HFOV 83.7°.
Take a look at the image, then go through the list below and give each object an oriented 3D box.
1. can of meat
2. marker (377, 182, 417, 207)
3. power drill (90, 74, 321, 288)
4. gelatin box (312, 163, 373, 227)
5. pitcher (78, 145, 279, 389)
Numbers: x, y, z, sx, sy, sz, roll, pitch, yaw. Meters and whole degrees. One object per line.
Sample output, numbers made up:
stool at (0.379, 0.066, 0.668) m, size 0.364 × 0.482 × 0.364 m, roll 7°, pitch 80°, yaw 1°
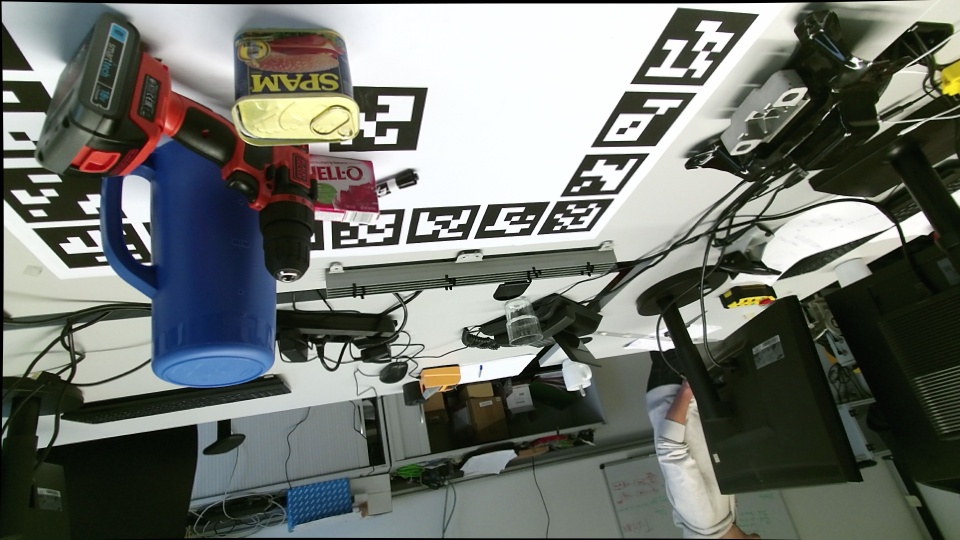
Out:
can of meat at (-0.168, -0.160, 0.478) m, size 0.102 × 0.083 × 0.058 m, roll -6°, pitch 154°, yaw -15°
marker at (-0.139, -0.088, 0.700) m, size 0.121 × 0.019 × 0.020 m, roll -19°, pitch 152°, yaw 7°
power drill at (-0.236, -0.081, 0.493) m, size 0.057 × 0.183 × 0.188 m, roll -36°, pitch 140°, yaw 31°
gelatin box at (-0.175, -0.089, 0.628) m, size 0.090 × 0.073 × 0.030 m, roll 1°, pitch 145°, yaw -25°
pitcher at (-0.297, -0.006, 0.556) m, size 0.133 × 0.241 × 0.189 m, roll -38°, pitch 152°, yaw 32°
